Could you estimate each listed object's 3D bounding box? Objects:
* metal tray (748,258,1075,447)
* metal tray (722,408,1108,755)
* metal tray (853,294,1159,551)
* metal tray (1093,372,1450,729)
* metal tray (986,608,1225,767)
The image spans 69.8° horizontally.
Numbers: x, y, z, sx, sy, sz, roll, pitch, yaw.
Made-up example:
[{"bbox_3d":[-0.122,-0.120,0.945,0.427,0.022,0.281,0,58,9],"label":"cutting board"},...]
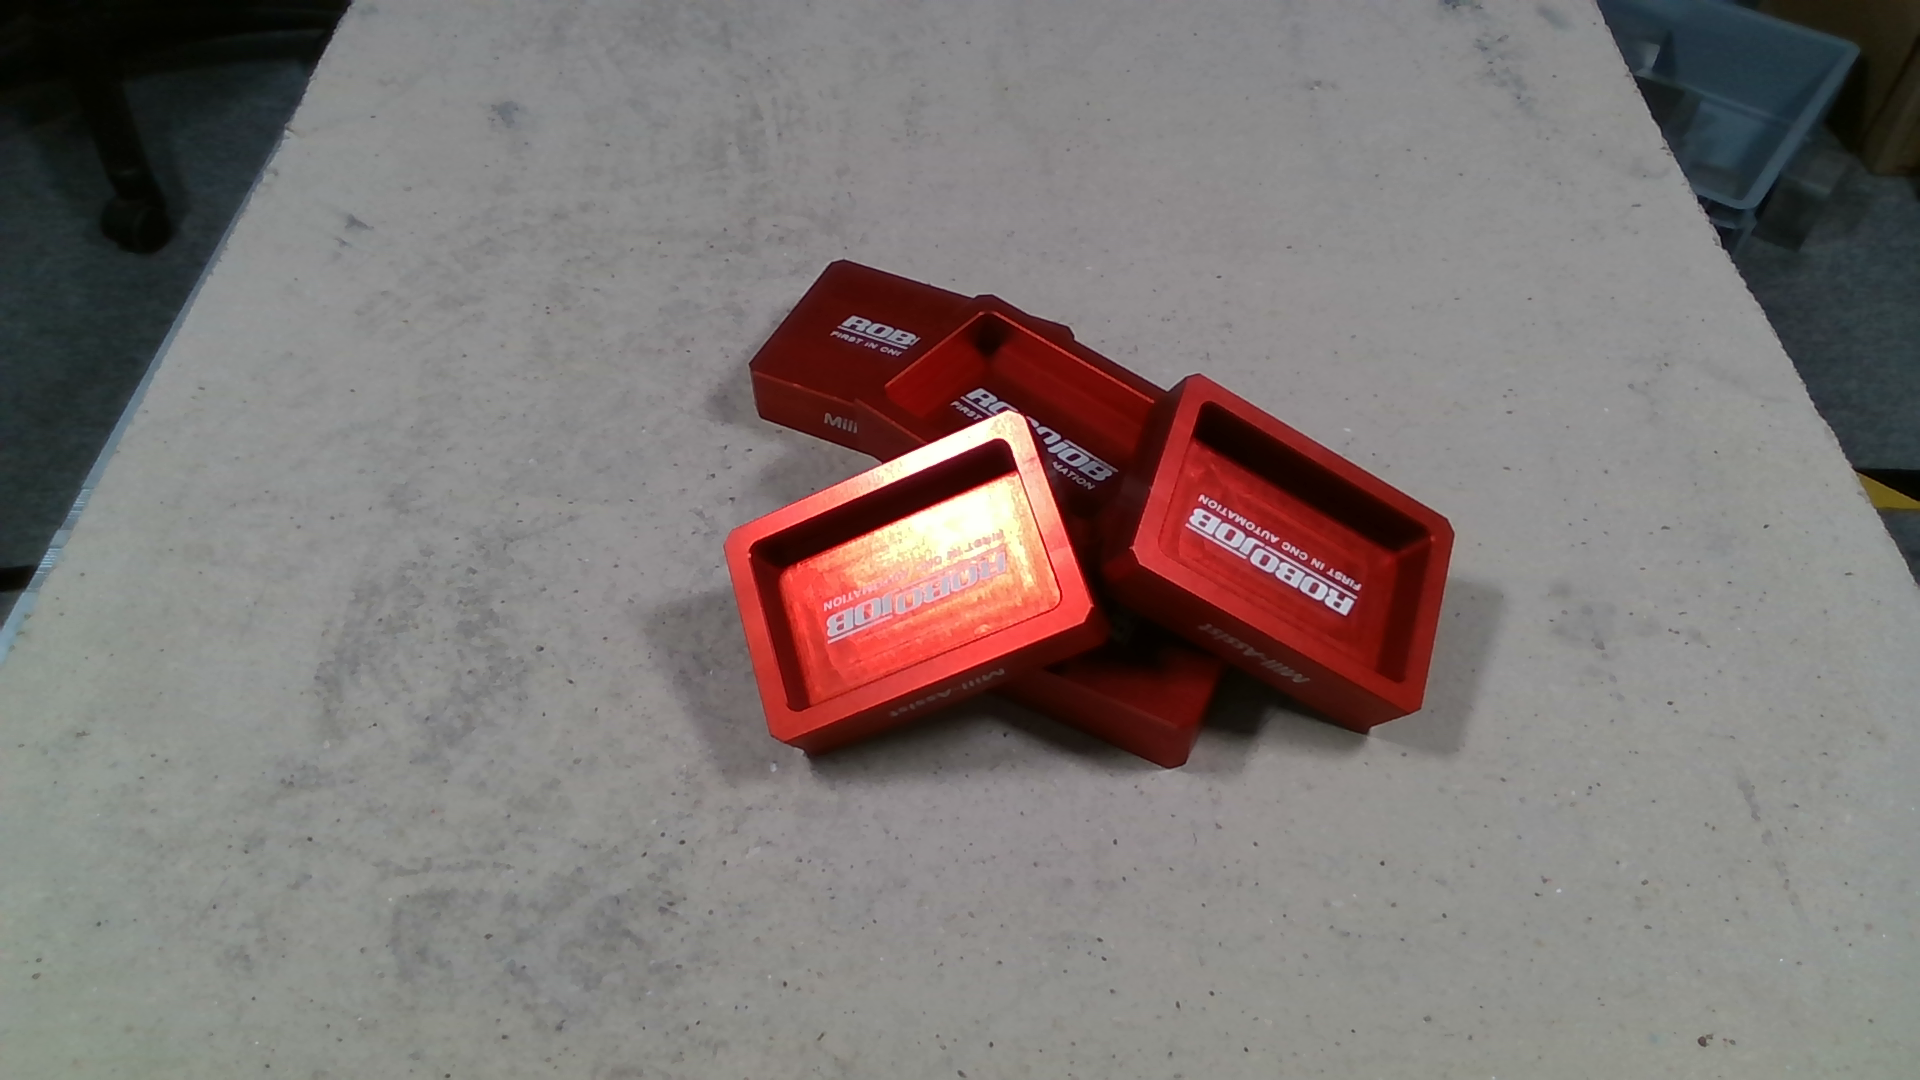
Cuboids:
[{"bbox_3d":[-0.022,-0.080,0.650,0.130,0.030,0.090,19,53,15],"label":"metal tray"},{"bbox_3d":[-0.019,0.017,0.525,0.130,0.030,0.090,-23,68,12],"label":"metal tray"},{"bbox_3d":[0.030,-0.046,0.583,0.130,0.030,0.090,34,58,25],"label":"metal tray"},{"bbox_3d":[0.123,0.005,0.535,0.130,0.030,0.090,28,62,-12],"label":"metal tray"},{"bbox_3d":[0.074,0.020,0.567,0.090,0.030,0.130,21,53,17],"label":"metal tray"}]
